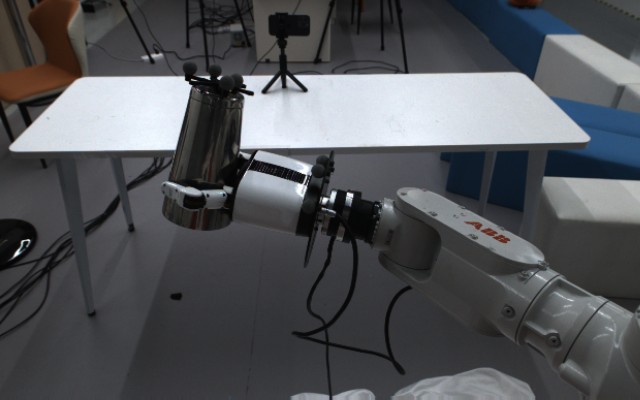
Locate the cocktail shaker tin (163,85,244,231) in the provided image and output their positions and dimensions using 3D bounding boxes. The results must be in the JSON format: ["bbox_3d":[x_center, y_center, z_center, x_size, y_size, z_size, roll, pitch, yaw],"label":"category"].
[{"bbox_3d":[-0.145,-0.057,0.625,0.093,0.170,0.093,13,20,-5],"label":"cocktail shaker tin"}]
